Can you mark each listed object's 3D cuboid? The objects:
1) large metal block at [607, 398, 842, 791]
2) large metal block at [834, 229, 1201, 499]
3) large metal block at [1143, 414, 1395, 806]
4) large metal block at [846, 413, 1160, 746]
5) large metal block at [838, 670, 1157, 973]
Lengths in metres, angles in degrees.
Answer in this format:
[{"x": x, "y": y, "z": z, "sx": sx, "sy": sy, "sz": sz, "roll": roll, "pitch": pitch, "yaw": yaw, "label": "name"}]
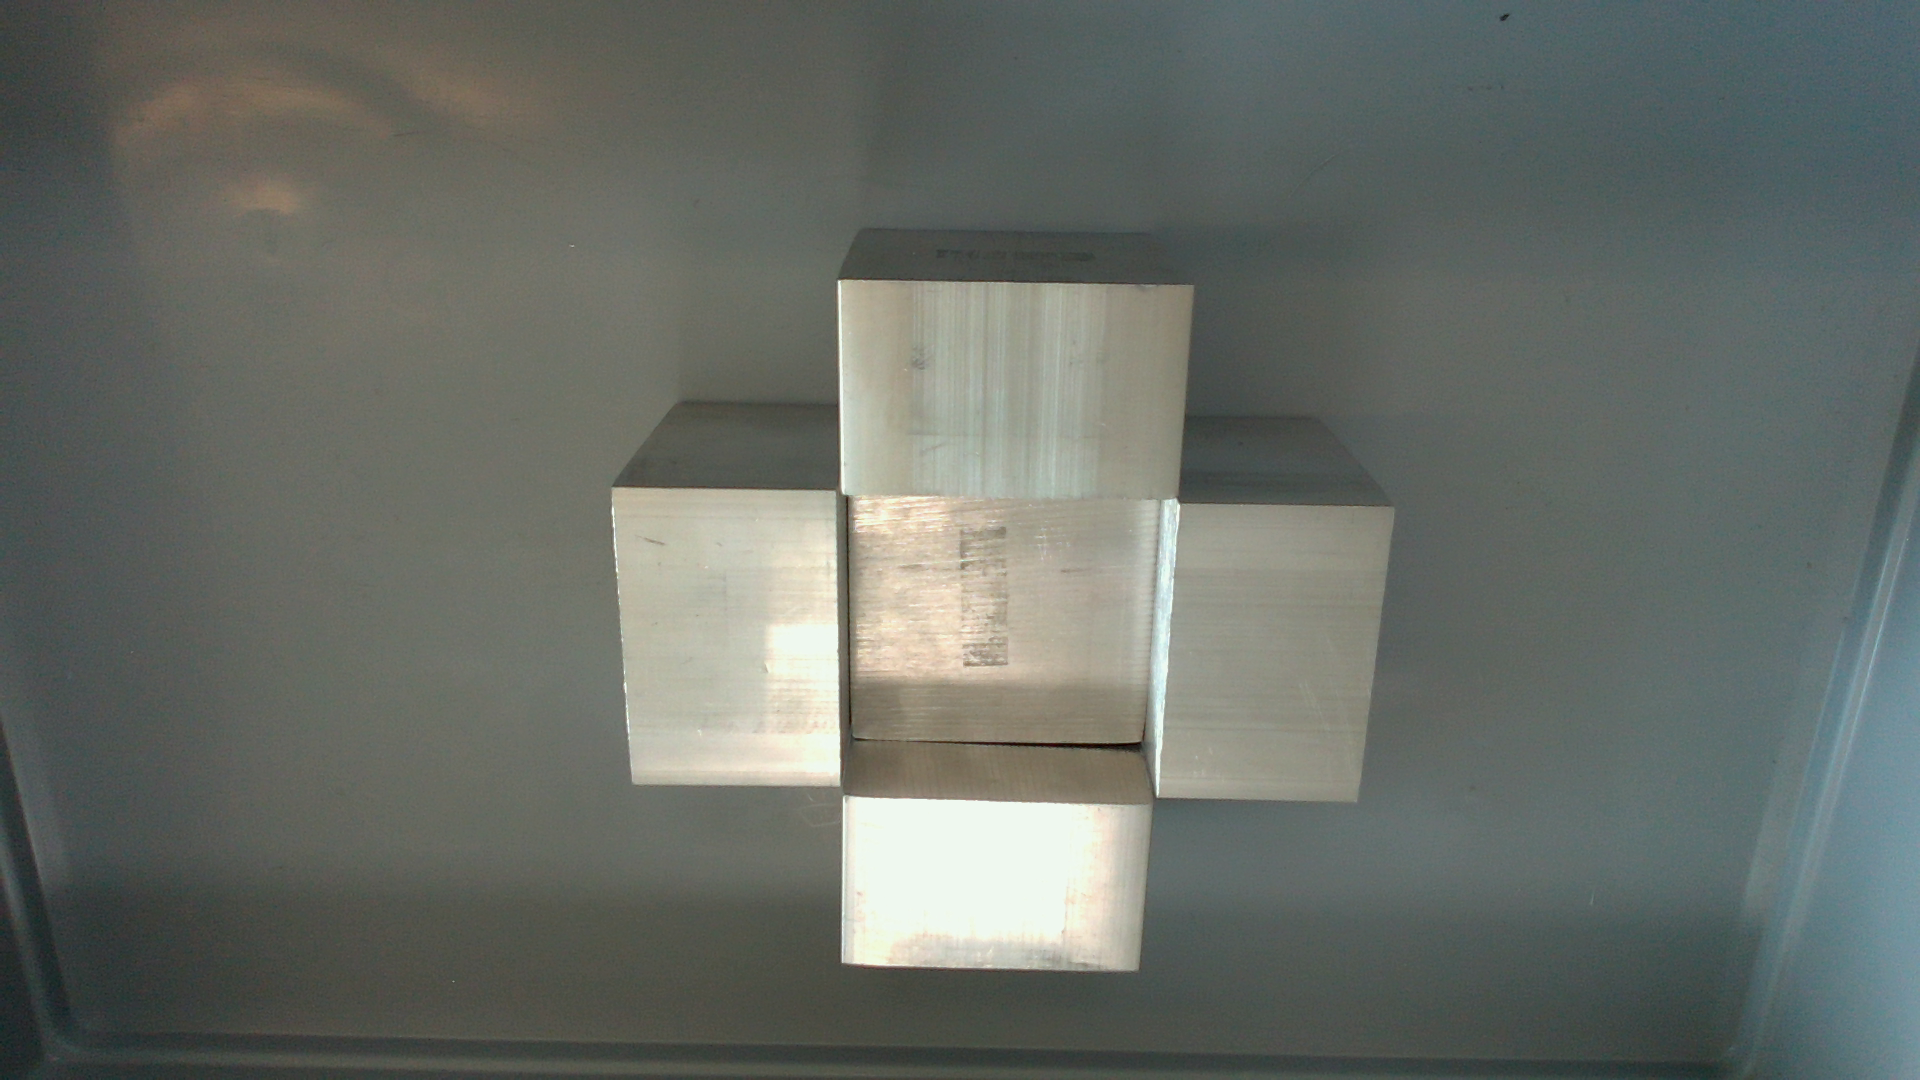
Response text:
[{"x": -0.057, "y": 0.011, "z": 0.368, "sx": 0.050, "sy": 0.080, "sz": 0.080, "roll": 1, "pitch": 110, "yaw": 0, "label": "large metal block"}, {"x": 0.012, "y": -0.047, "z": 0.346, "sx": 0.080, "sy": 0.080, "sz": 0.050, "roll": 1, "pitch": 110, "yaw": 0, "label": "large metal block"}, {"x": 0.076, "y": 0.015, "z": 0.370, "sx": 0.050, "sy": 0.080, "sz": 0.080, "roll": 1, "pitch": 110, "yaw": 0, "label": "large metal block"}, {"x": 0.011, "y": 0.009, "z": 0.382, "sx": 0.080, "sy": 0.050, "sz": 0.080, "roll": 1, "pitch": 110, "yaw": 0, "label": "large metal block"}, {"x": 0.009, "y": 0.076, "z": 0.391, "sx": 0.080, "sy": 0.080, "sz": 0.050, "roll": 2, "pitch": 110, "yaw": -1, "label": "large metal block"}]
